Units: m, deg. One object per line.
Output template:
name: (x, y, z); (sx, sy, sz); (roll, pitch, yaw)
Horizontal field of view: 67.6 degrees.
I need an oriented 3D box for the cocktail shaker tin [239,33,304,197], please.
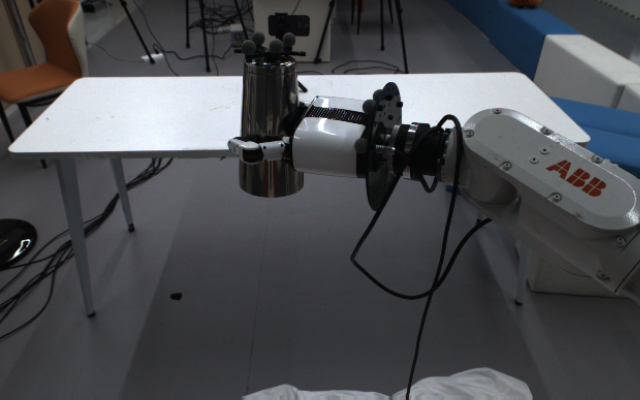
cocktail shaker tin: (-0.063, -0.100, 0.641); (0.093, 0.170, 0.093); (2, 28, -1)
